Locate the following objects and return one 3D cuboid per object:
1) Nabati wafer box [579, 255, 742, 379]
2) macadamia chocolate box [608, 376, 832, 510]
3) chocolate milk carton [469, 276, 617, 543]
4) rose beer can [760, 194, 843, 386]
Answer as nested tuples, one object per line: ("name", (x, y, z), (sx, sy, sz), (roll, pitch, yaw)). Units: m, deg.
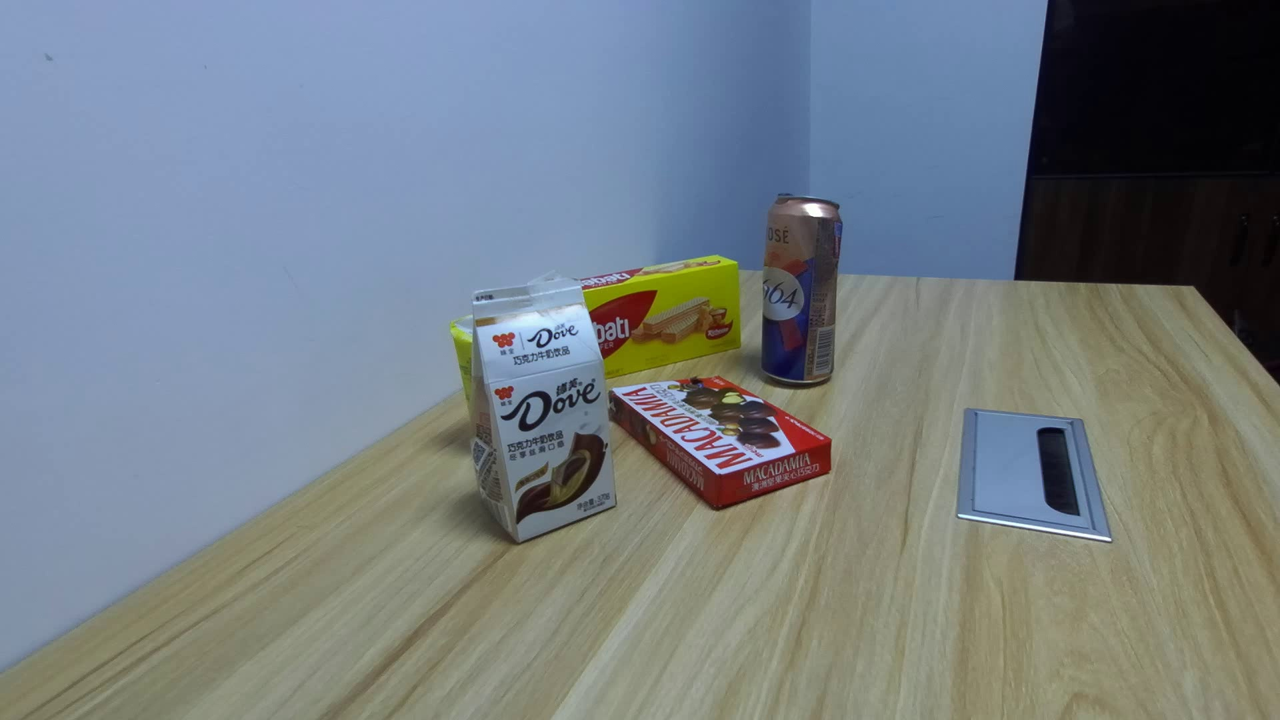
("Nabati wafer box", (0.006, -0.040, 0.704), (0.203, 0.093, 0.042), (-13, 20, -20))
("macadamia chocolate box", (0.054, 0.049, 0.550), (0.103, 0.027, 0.186), (-12, 22, -23))
("chocolate milk carton", (-0.071, 0.026, 0.459), (0.084, 0.155, 0.072), (-16, 24, -26))
("rose beer can", (0.143, -0.062, 0.627), (0.069, 0.168, 0.070), (6, 18, 21))
